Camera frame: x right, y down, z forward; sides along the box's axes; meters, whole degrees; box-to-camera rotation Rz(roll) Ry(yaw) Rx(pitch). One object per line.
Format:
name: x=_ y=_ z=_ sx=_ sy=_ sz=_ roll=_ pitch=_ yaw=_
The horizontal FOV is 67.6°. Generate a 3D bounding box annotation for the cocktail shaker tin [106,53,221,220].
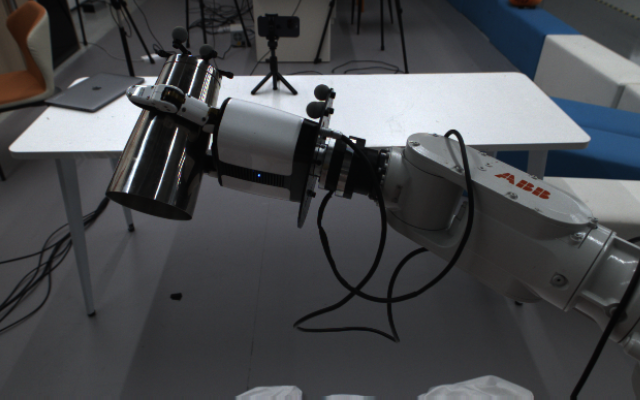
cocktail shaker tin: x=-0.165 y=-0.070 z=0.538 sx=0.093 sy=0.093 sz=0.170 roll=10 pitch=73 yaw=11
